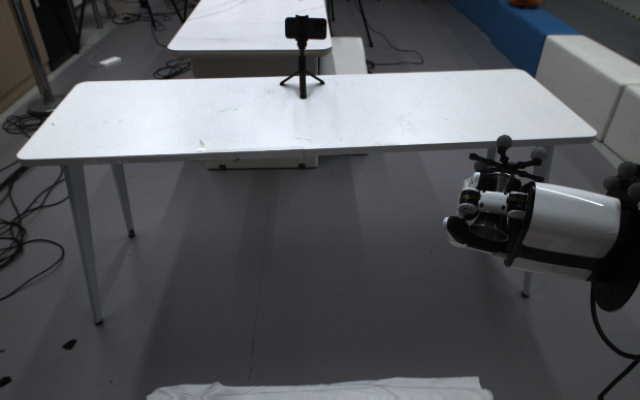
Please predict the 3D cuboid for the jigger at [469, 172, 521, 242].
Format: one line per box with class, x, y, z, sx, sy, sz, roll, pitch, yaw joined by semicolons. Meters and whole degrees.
jigger;0.200;0.004;0.549;0.043;0.043;0.071;16;70;19
